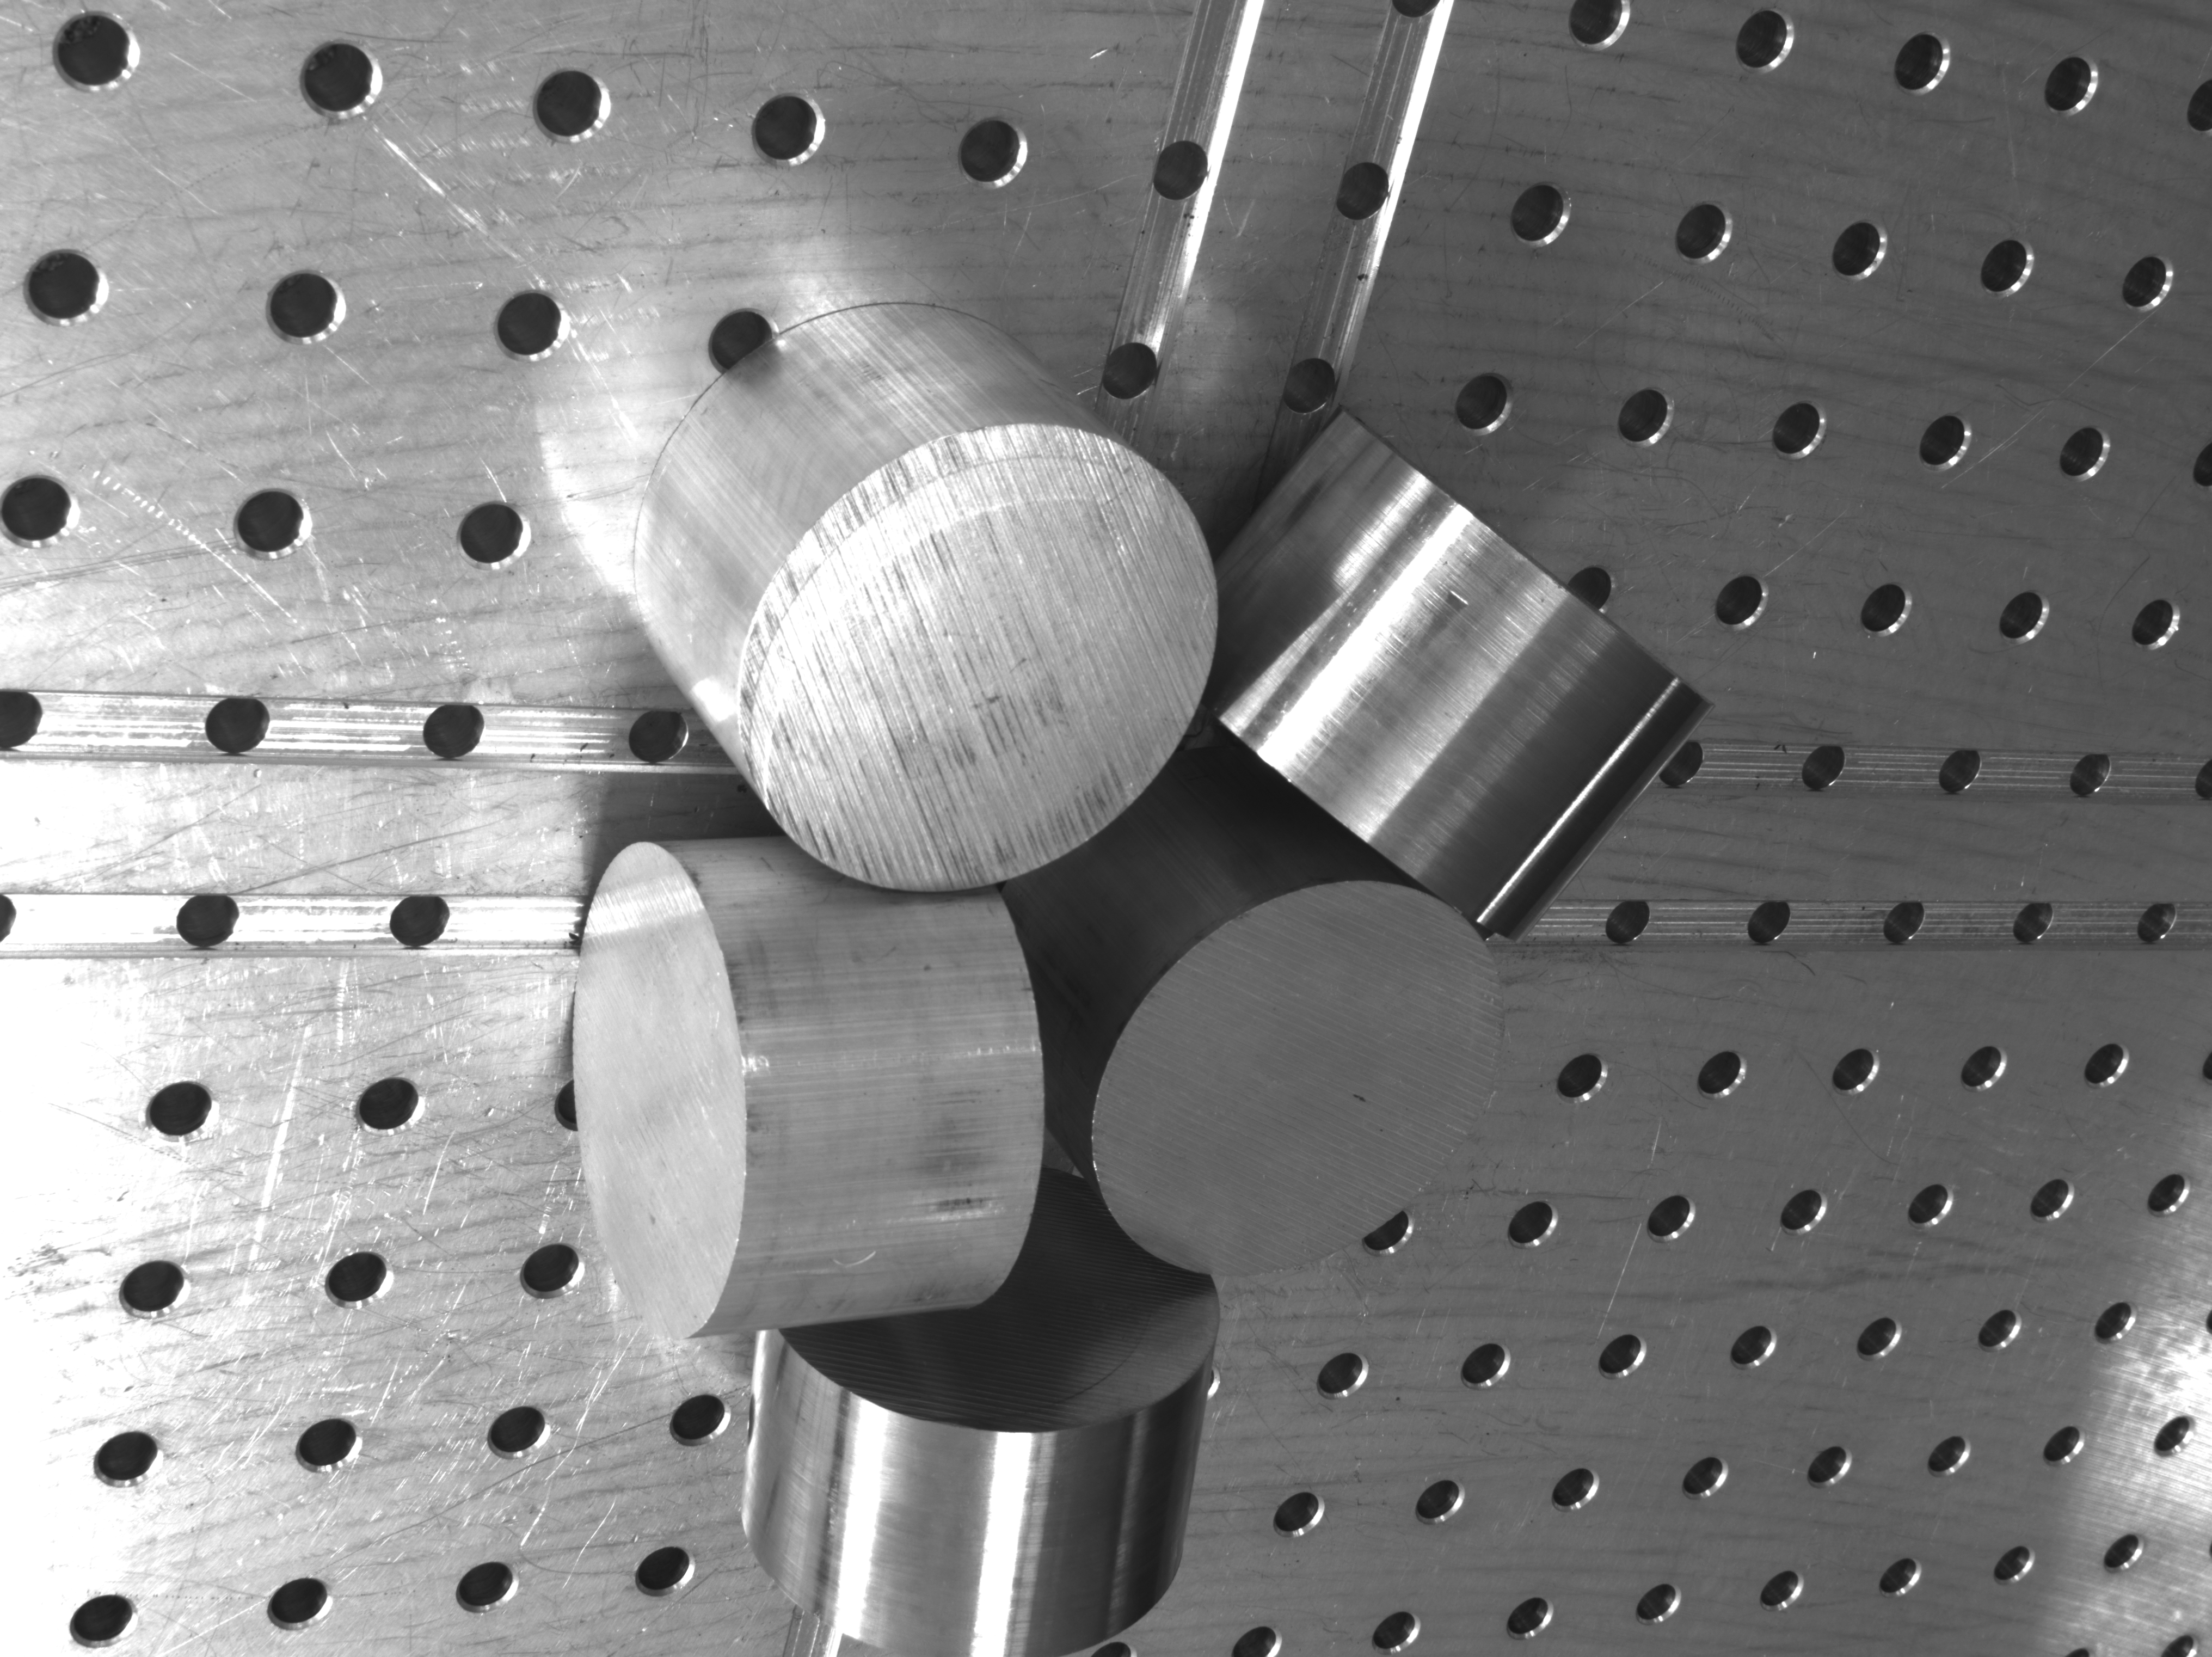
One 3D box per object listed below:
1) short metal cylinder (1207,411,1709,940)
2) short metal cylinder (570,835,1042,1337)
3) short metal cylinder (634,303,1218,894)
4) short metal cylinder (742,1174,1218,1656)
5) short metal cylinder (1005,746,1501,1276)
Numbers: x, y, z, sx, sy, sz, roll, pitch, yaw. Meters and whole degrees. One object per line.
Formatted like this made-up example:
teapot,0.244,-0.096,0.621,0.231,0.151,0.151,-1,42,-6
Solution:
short metal cylinder,0.054,-0.026,0.619,0.080,0.080,0.050,32,100,-38
short metal cylinder,-0.051,0.041,0.604,0.050,0.080,0.080,-3,119,-27
short metal cylinder,-0.029,-0.037,0.586,0.080,0.050,0.080,-13,123,-20
short metal cylinder,-0.023,0.103,0.654,0.080,0.080,0.050,-6,121,-25
short metal cylinder,0.023,0.032,0.656,0.080,0.050,0.080,-14,124,-21
